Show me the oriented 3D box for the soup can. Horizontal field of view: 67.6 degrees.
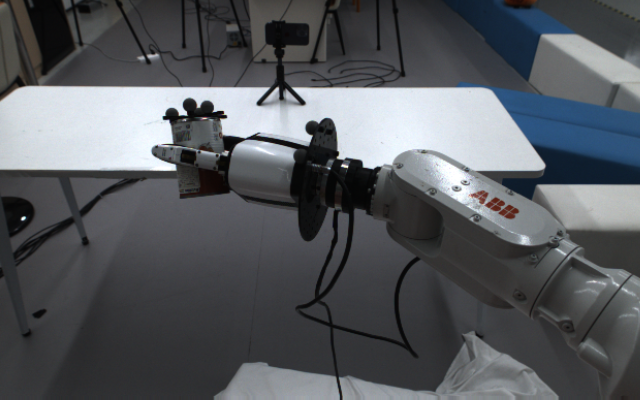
[{"bbox_3d":[-0.160,-0.053,0.653,0.067,0.101,0.067,-7,2,0],"label":"soup can"}]
